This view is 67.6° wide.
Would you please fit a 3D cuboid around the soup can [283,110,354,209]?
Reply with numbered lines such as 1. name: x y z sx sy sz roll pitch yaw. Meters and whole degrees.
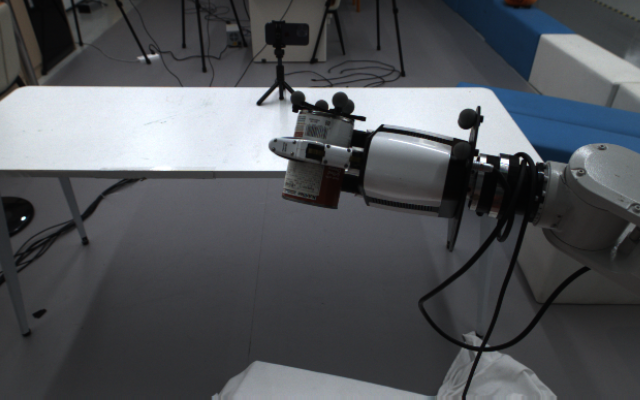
1. soup can: -0.003 -0.048 0.558 0.067 0.101 0.067 12 2 0
